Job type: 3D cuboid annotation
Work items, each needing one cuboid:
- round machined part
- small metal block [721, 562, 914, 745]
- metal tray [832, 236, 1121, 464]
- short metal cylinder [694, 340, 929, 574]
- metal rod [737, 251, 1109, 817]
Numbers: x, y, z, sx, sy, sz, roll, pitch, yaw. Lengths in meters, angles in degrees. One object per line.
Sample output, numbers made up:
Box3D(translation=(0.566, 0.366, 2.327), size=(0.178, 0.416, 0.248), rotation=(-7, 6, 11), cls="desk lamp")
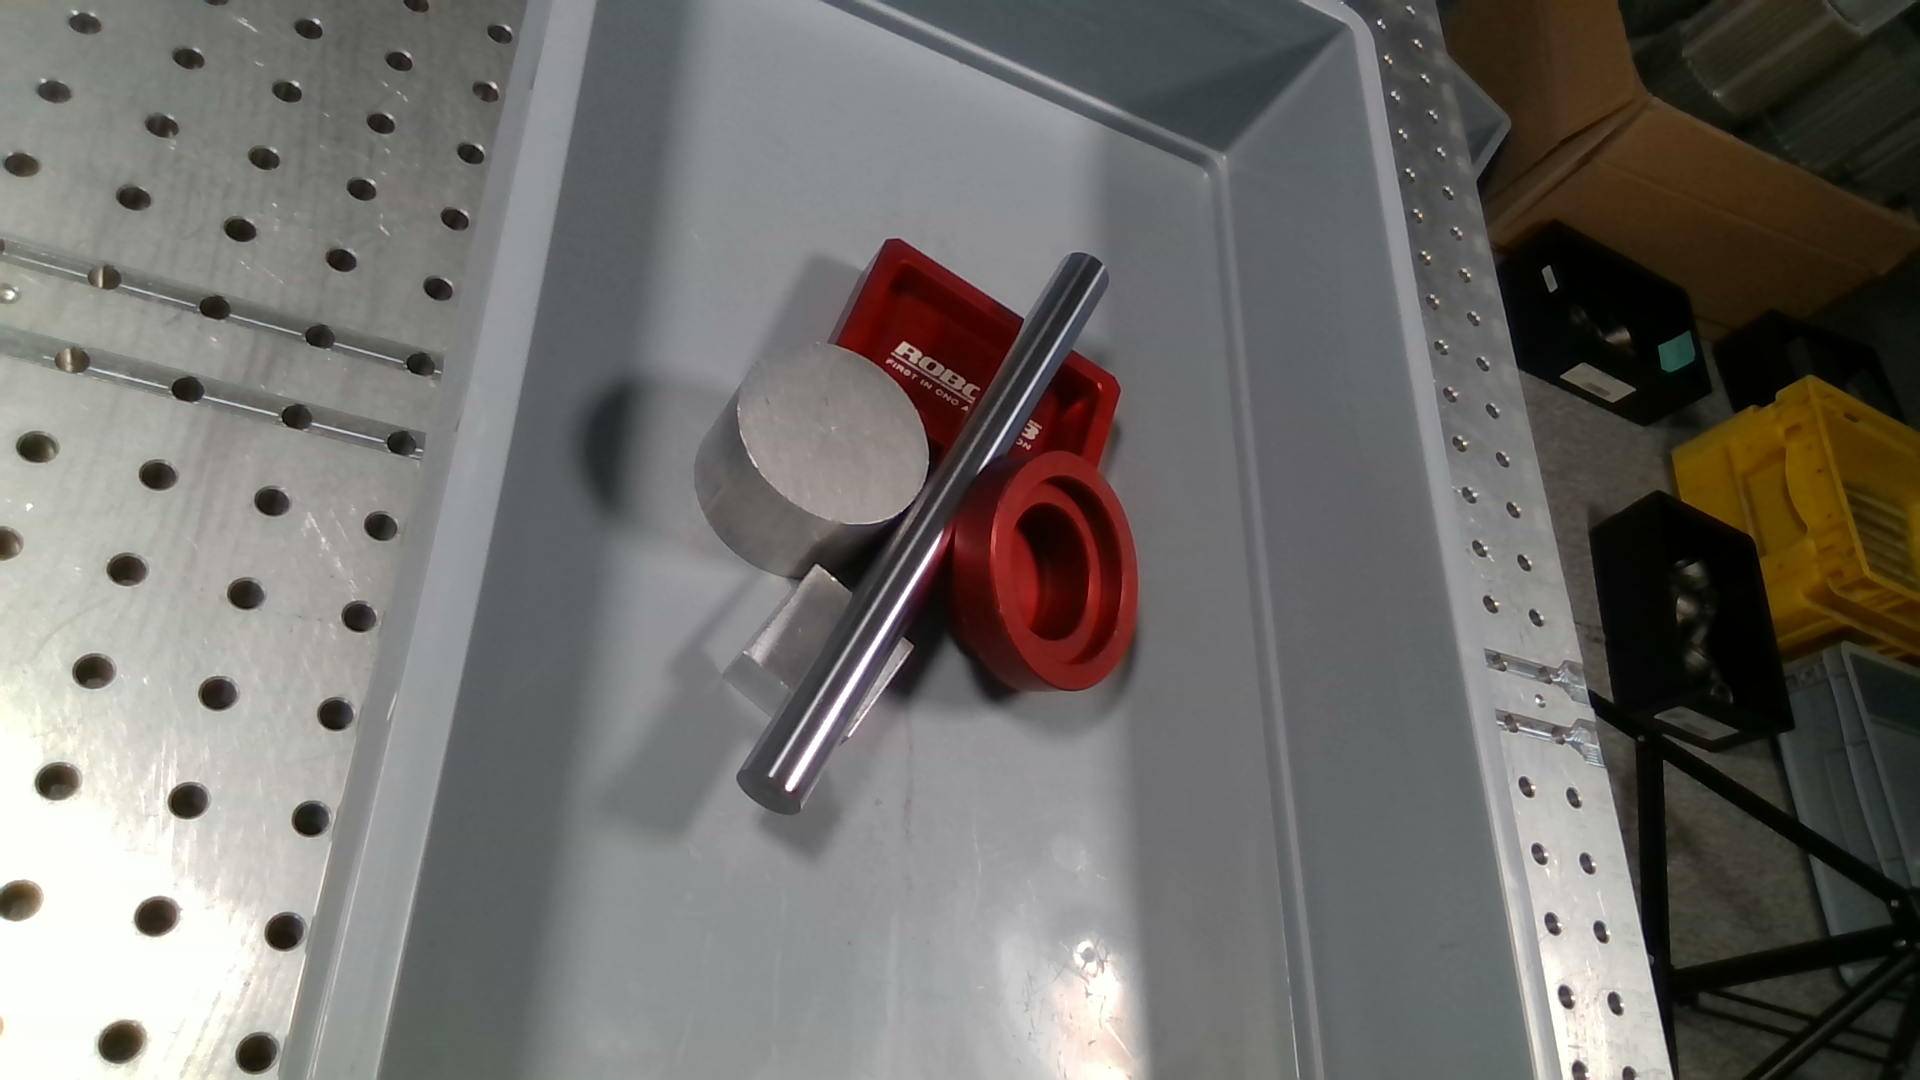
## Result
Box3D(translation=(0.029, 0.014, 0.568), size=(0.098, 0.042, 0.098), rotation=(10, 77, -48), cls="round machined part")
Box3D(translation=(-0.054, 0.046, 0.526), size=(0.050, 0.025, 0.050), rotation=(41, 51, -6), cls="small metal block")
Box3D(translation=(0.004, -0.067, 0.618), size=(0.130, 0.030, 0.090), rotation=(30, 53, -15), cls="metal tray")
Box3D(translation=(-0.059, -0.032, 0.548), size=(0.080, 0.050, 0.080), rotation=(14, 59, -25), cls="short metal cylinder")
Box3D(translation=(-0.004, -0.019, 0.555), size=(0.025, 0.025, 0.299), rotation=(37, 54, -9), cls="metal rod")
